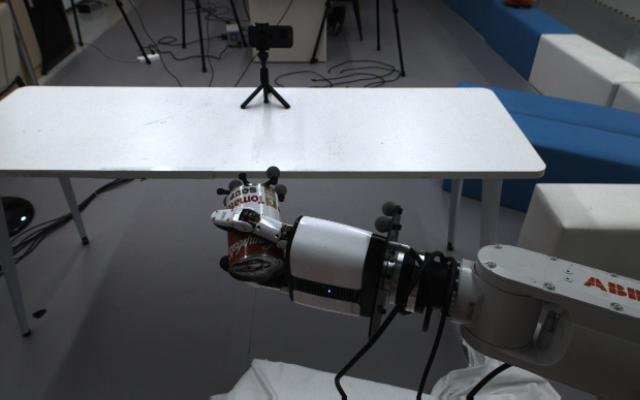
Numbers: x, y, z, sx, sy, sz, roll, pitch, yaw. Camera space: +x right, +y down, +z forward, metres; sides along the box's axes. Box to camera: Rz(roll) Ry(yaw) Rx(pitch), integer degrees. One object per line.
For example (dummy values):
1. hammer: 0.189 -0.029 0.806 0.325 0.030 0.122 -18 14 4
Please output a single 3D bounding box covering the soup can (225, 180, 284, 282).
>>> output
1. soup can: -0.078 0.039 0.588 0.067 0.067 0.101 -4 57 -9
